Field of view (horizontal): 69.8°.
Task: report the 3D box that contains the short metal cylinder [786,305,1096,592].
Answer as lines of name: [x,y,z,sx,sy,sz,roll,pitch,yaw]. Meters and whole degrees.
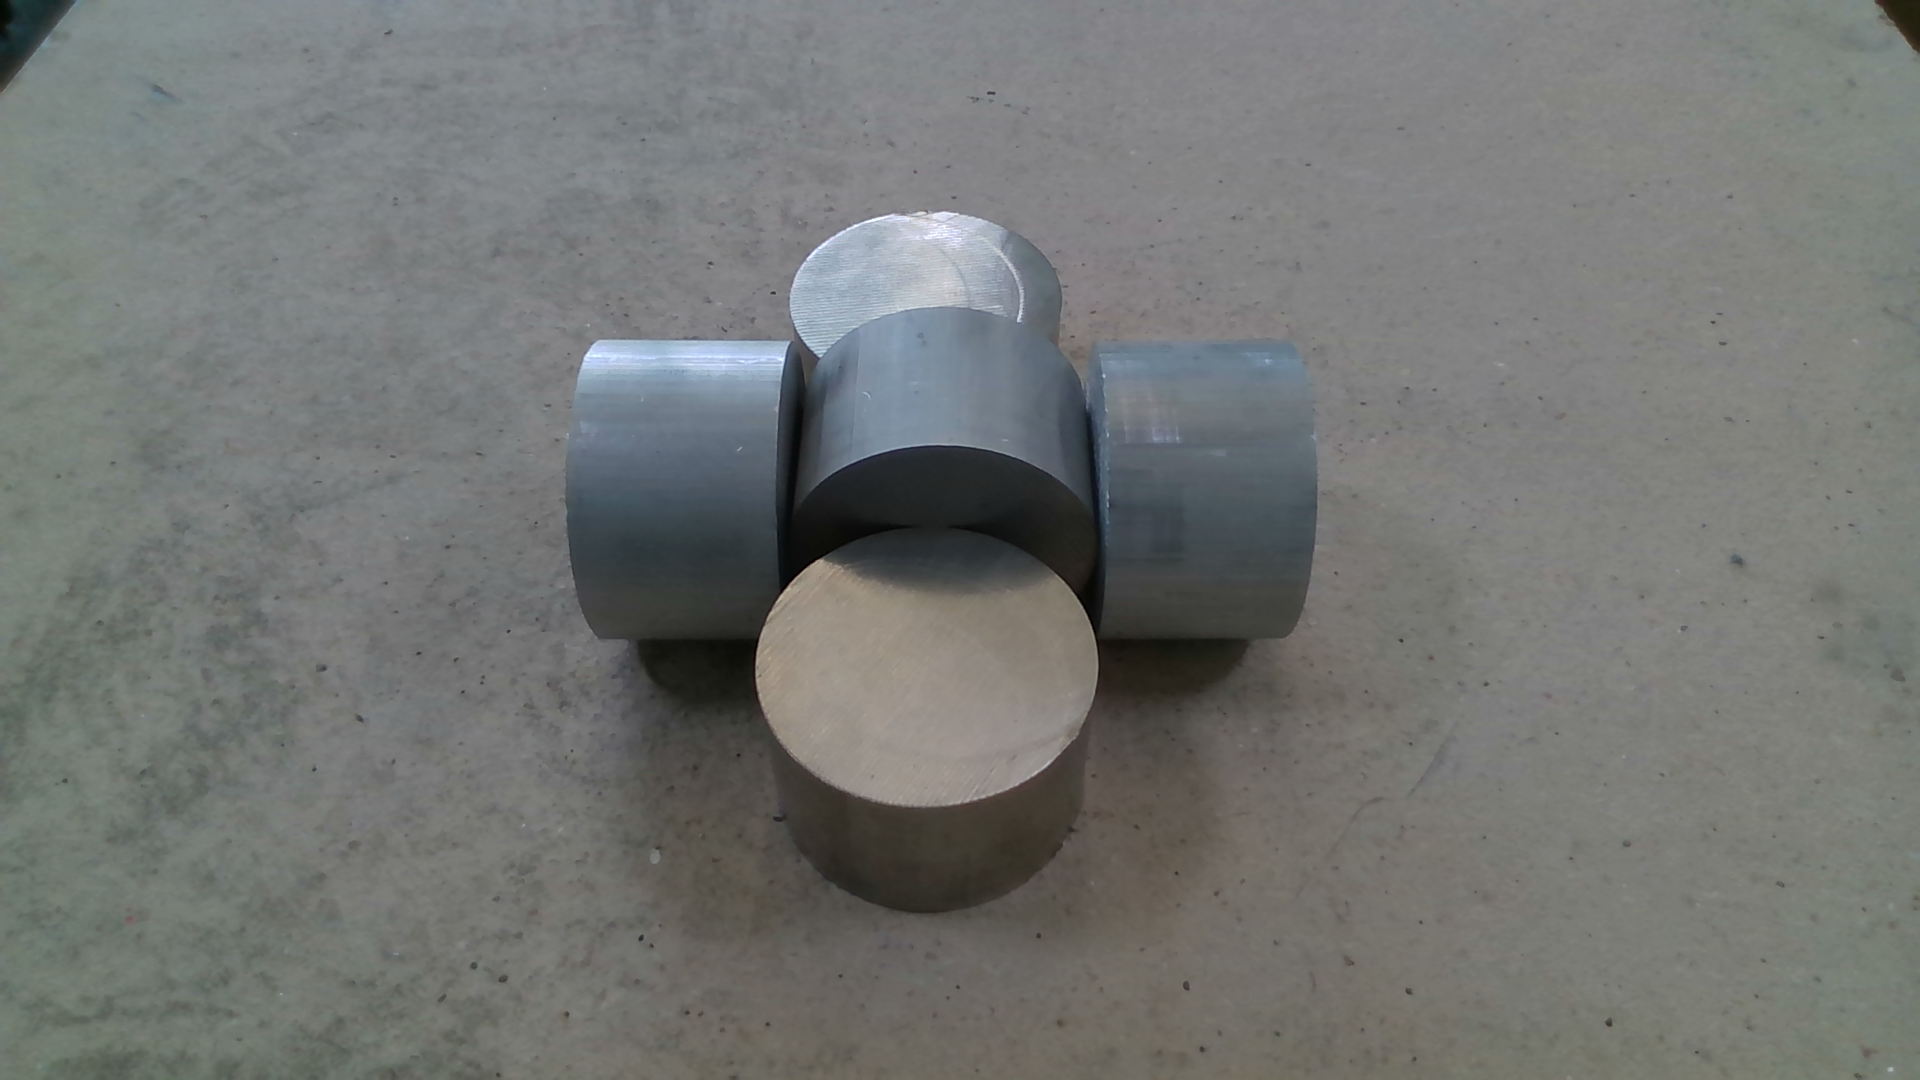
short metal cylinder: [-0.005,-0.016,0.372,0.080,0.080,0.050,0,50,0]

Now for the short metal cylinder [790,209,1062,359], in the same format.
short metal cylinder: [-0.010,-0.057,0.425,0.080,0.050,0.080,0,51,0]

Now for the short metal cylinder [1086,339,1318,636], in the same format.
short metal cylinder: [0.061,-0.014,0.370,0.050,0.080,0.080,0,50,0]

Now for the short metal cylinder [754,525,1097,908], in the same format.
short metal cylinder: [-0.008,0.043,0.341,0.080,0.050,0.080,0,50,0]

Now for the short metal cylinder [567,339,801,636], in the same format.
short metal cylinder: [-0.070,-0.014,0.370,0.050,0.080,0.080,0,50,0]
